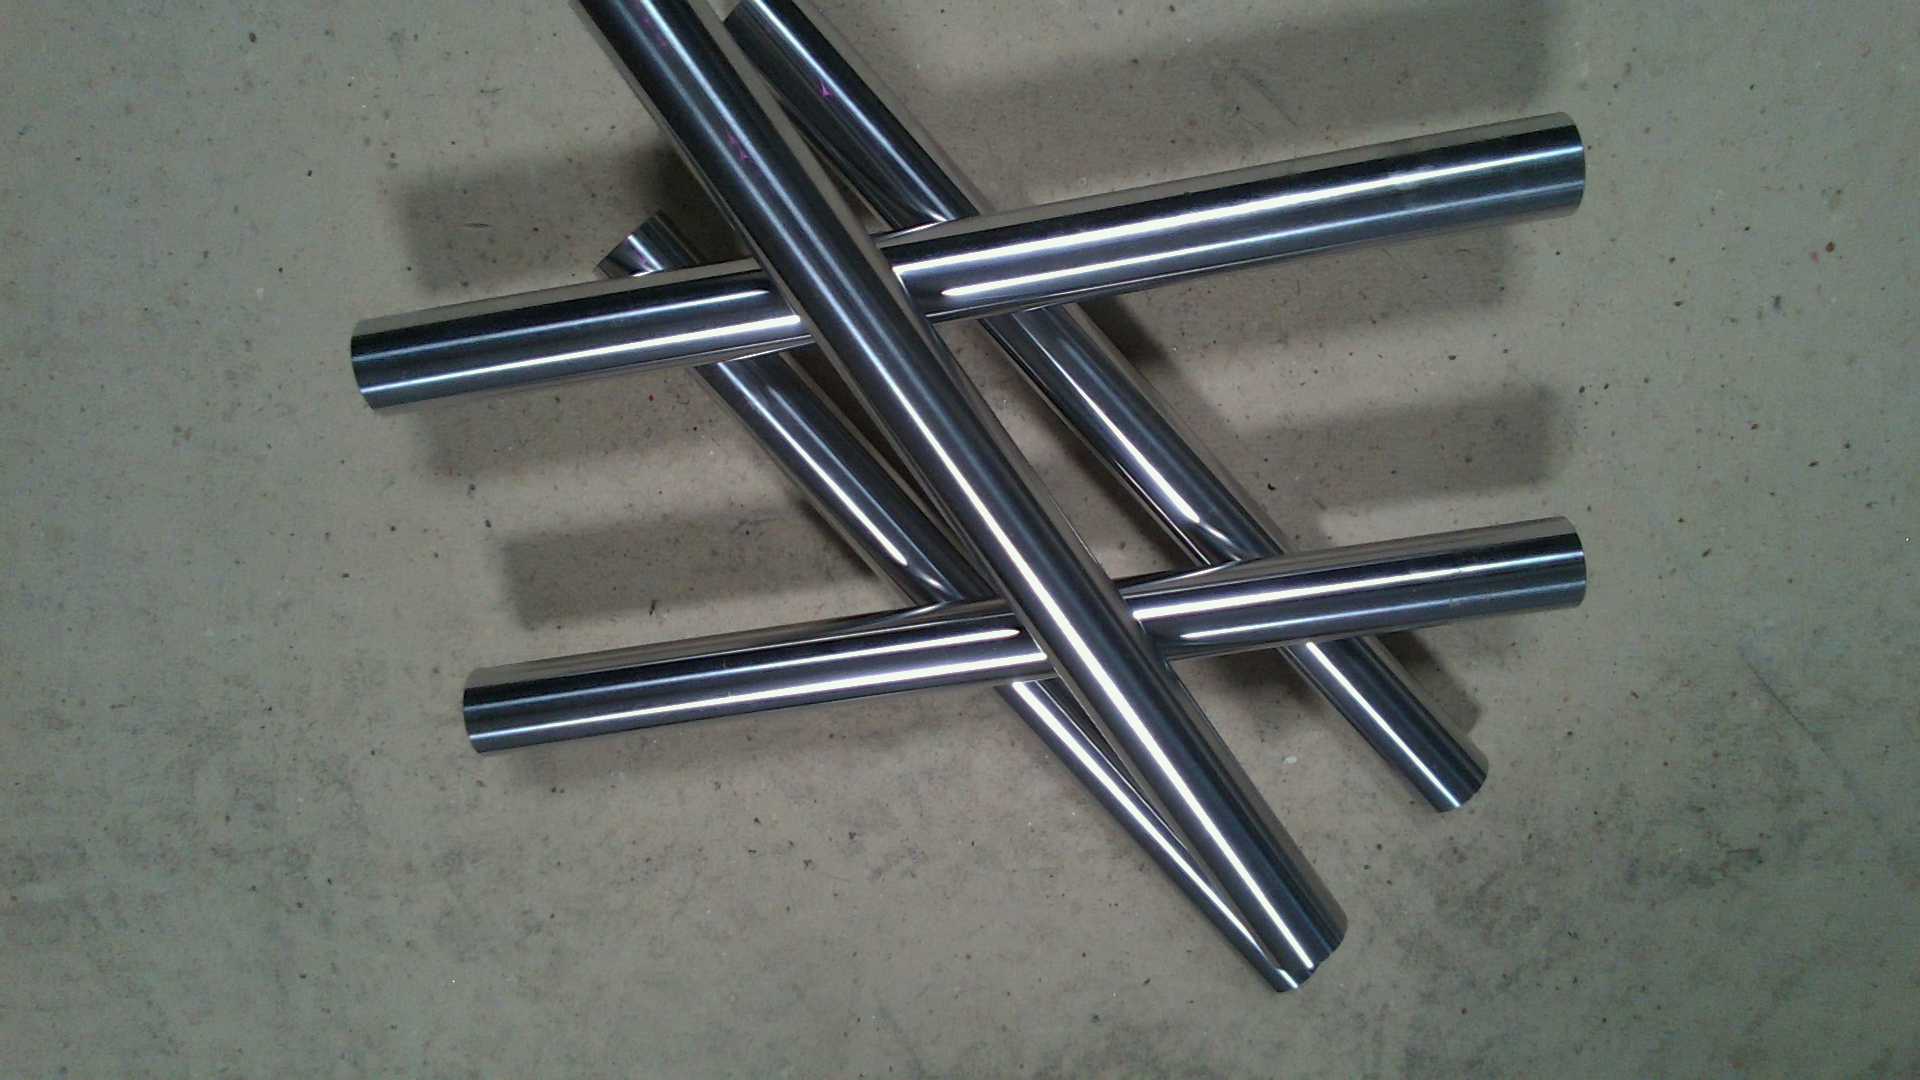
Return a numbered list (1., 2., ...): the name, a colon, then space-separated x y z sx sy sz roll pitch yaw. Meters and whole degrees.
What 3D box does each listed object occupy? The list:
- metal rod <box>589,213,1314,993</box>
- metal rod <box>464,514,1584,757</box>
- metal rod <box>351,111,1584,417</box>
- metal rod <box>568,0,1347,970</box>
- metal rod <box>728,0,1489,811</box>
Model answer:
1. metal rod: 0.009 0.029 0.404 0.025 0.025 0.300 -39 106 13
2. metal rod: 0.015 0.027 0.378 0.300 0.025 0.025 -8 110 3
3. metal rod: -0.001 -0.068 0.343 0.300 0.025 0.025 -9 110 3
4. metal rod: 0.011 -0.006 0.339 0.025 0.025 0.300 -33 107 11
5. metal rod: 0.049 -0.030 0.383 0.025 0.025 0.300 -41 105 14
